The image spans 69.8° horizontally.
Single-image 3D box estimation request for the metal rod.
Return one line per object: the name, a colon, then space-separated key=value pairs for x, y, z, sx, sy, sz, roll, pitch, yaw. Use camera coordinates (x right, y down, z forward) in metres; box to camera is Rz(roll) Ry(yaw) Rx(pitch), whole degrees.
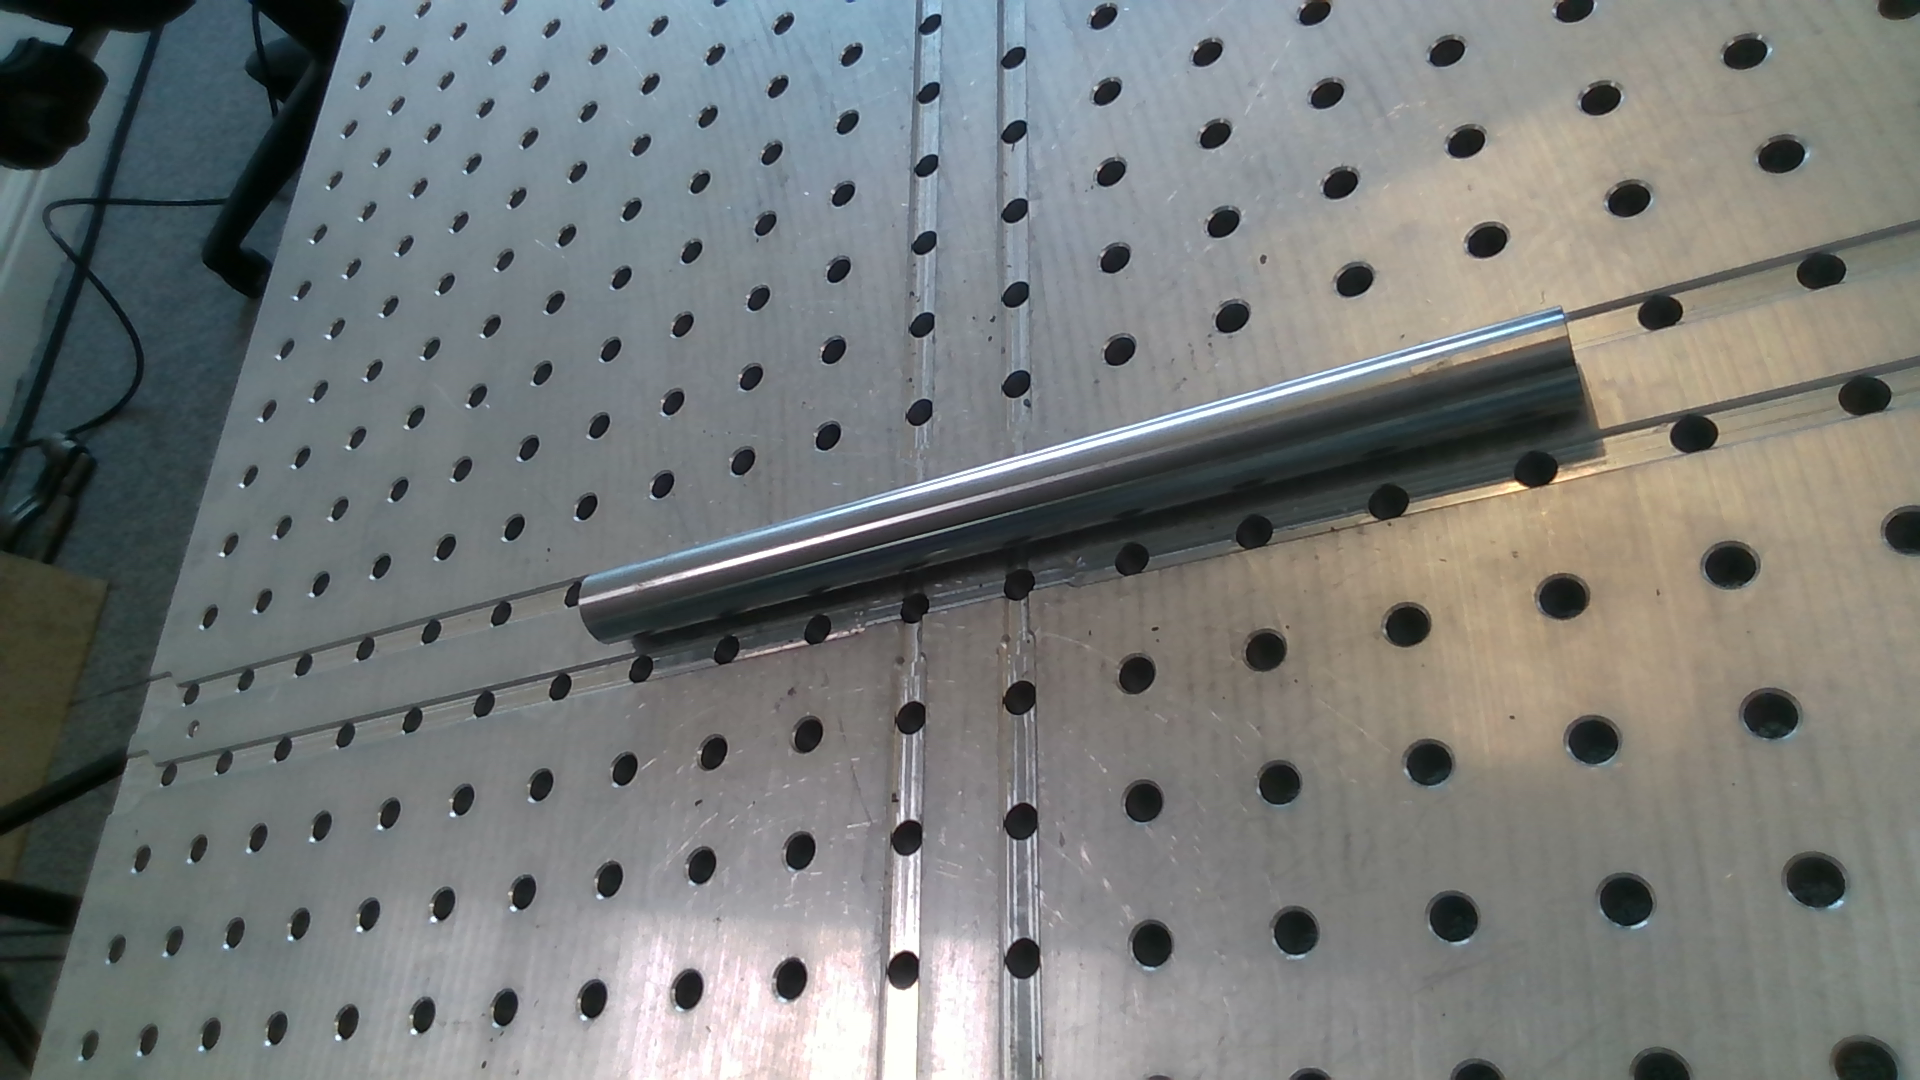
metal rod: x=0.014 y=-0.011 z=0.394 sx=0.300 sy=0.025 sz=0.025 roll=-14 pitch=59 yaw=25
